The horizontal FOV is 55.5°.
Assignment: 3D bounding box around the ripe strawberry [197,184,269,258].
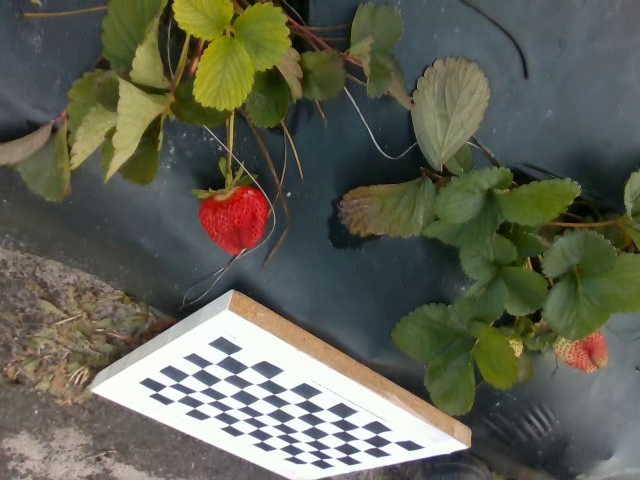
[{"bbox_3d":[-0.017,-0.003,0.117,0.017,0.015,0.013,-10,1,28],"label":"ripe strawberry"}]
